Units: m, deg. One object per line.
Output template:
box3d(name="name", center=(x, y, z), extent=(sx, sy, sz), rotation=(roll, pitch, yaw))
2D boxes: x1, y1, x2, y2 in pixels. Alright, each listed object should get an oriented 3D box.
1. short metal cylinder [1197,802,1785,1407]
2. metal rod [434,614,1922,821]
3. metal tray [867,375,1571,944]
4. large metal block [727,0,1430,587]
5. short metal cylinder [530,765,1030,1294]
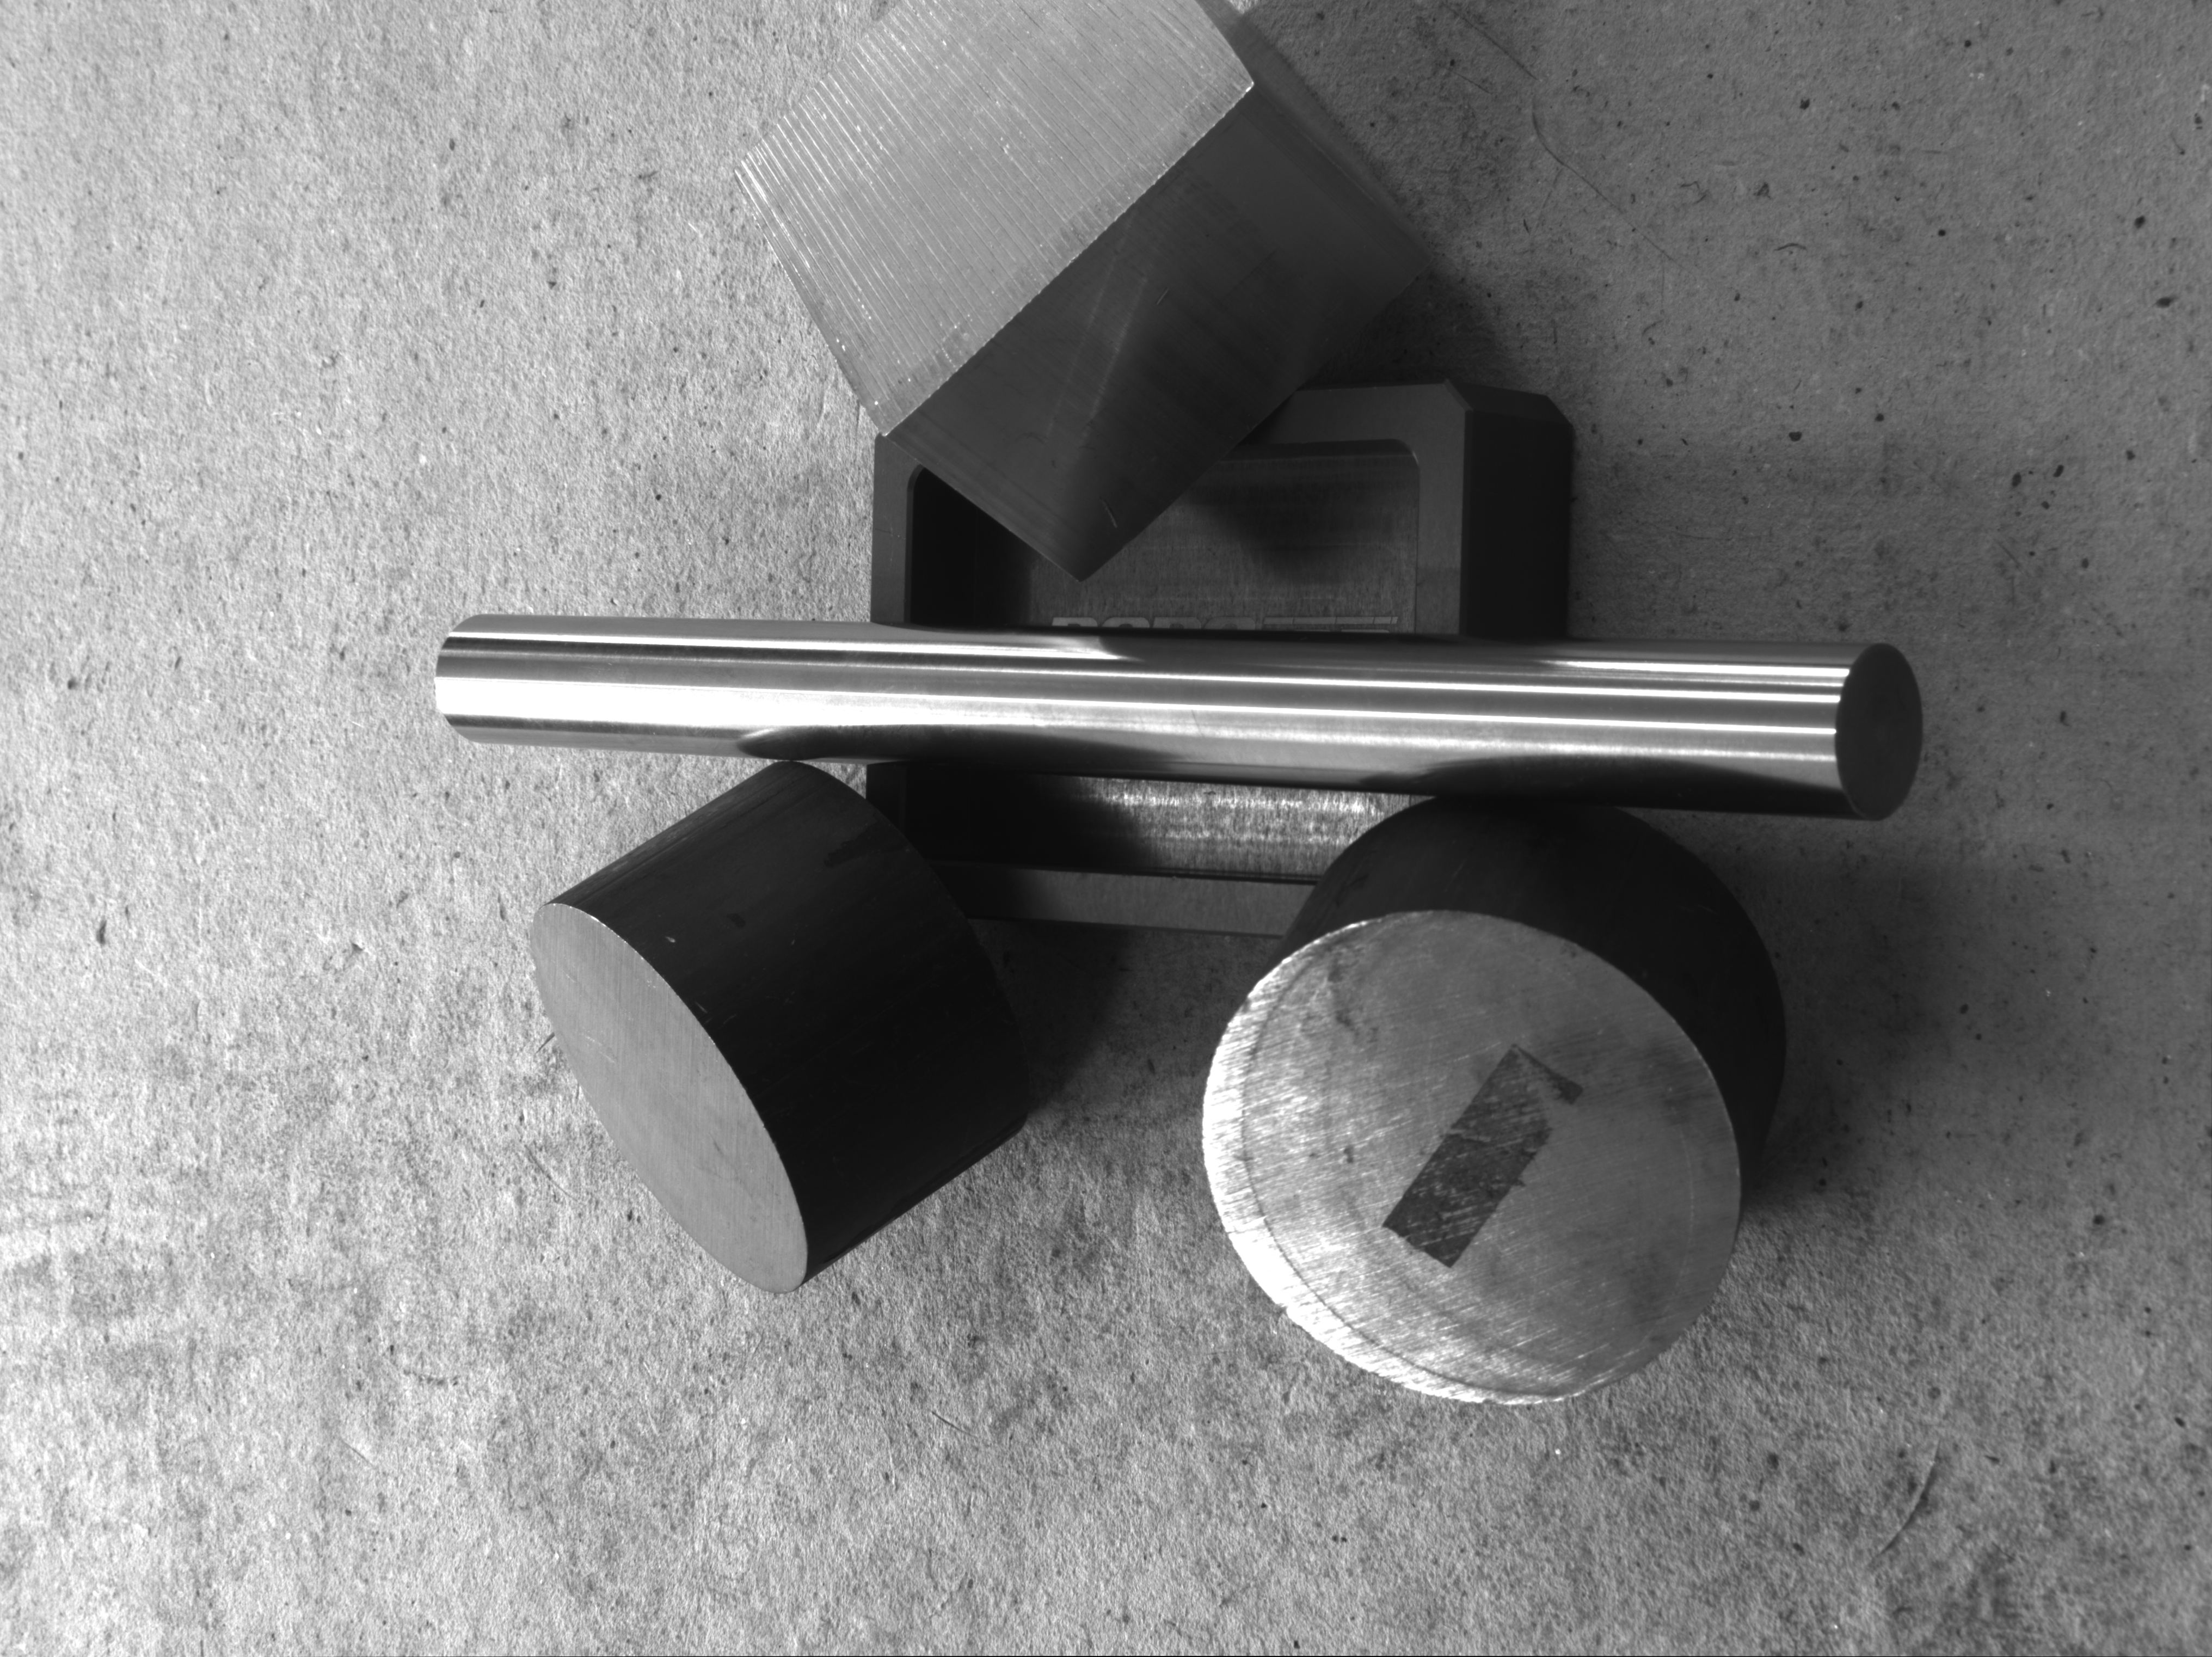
box3d(name="short metal cylinder", center=(0.059, 0.040, 0.558), extent=(0.080, 0.050, 0.080), rotation=(7, 113, 17))
box3d(name="metal rod", center=(-0.006, -0.021, 0.611), extent=(0.299, 0.025, 0.025), rotation=(4, 92, 40))
box3d(name="metal tray", center=(0.016, -0.028, 0.629), extent=(0.130, 0.030, 0.090), rotation=(2, 91, 40))
box3d(name="large metal block", center=(-0.006, -0.102, 0.607), extent=(0.080, 0.050, 0.080), rotation=(-42, 47, 14))
box3d(name="short metal cylinder", center=(-0.059, 0.035, 0.655), extent=(0.080, 0.050, 0.080), rotation=(41, 150, 30))
